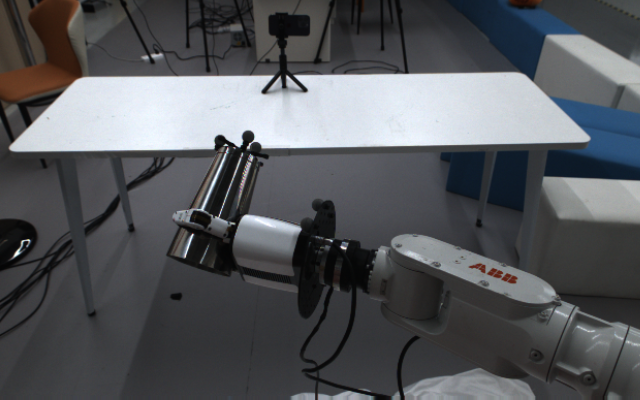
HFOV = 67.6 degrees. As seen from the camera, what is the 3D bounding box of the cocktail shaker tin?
[{"bbox_3d":[-0.145,0.014,0.687,0.093,0.093,0.170,13,72,16],"label":"cocktail shaker tin"}]
